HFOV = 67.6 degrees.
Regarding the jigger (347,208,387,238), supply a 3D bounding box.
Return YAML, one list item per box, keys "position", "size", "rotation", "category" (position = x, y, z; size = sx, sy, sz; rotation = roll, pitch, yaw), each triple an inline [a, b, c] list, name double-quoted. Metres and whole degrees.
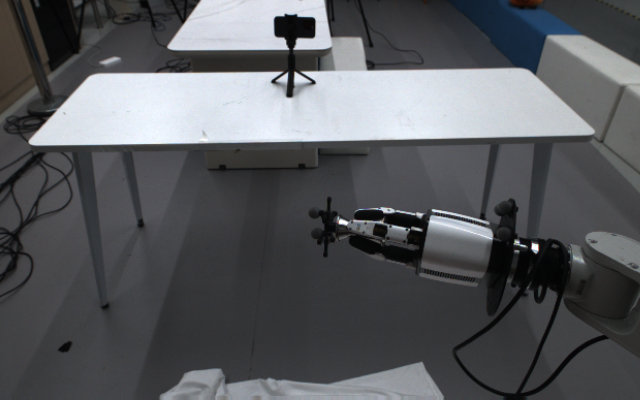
- position: [0.067, 0.038, 0.701]
  size: [0.071, 0.043, 0.043]
  rotation: [2, 34, 16]
  category: "jigger"
